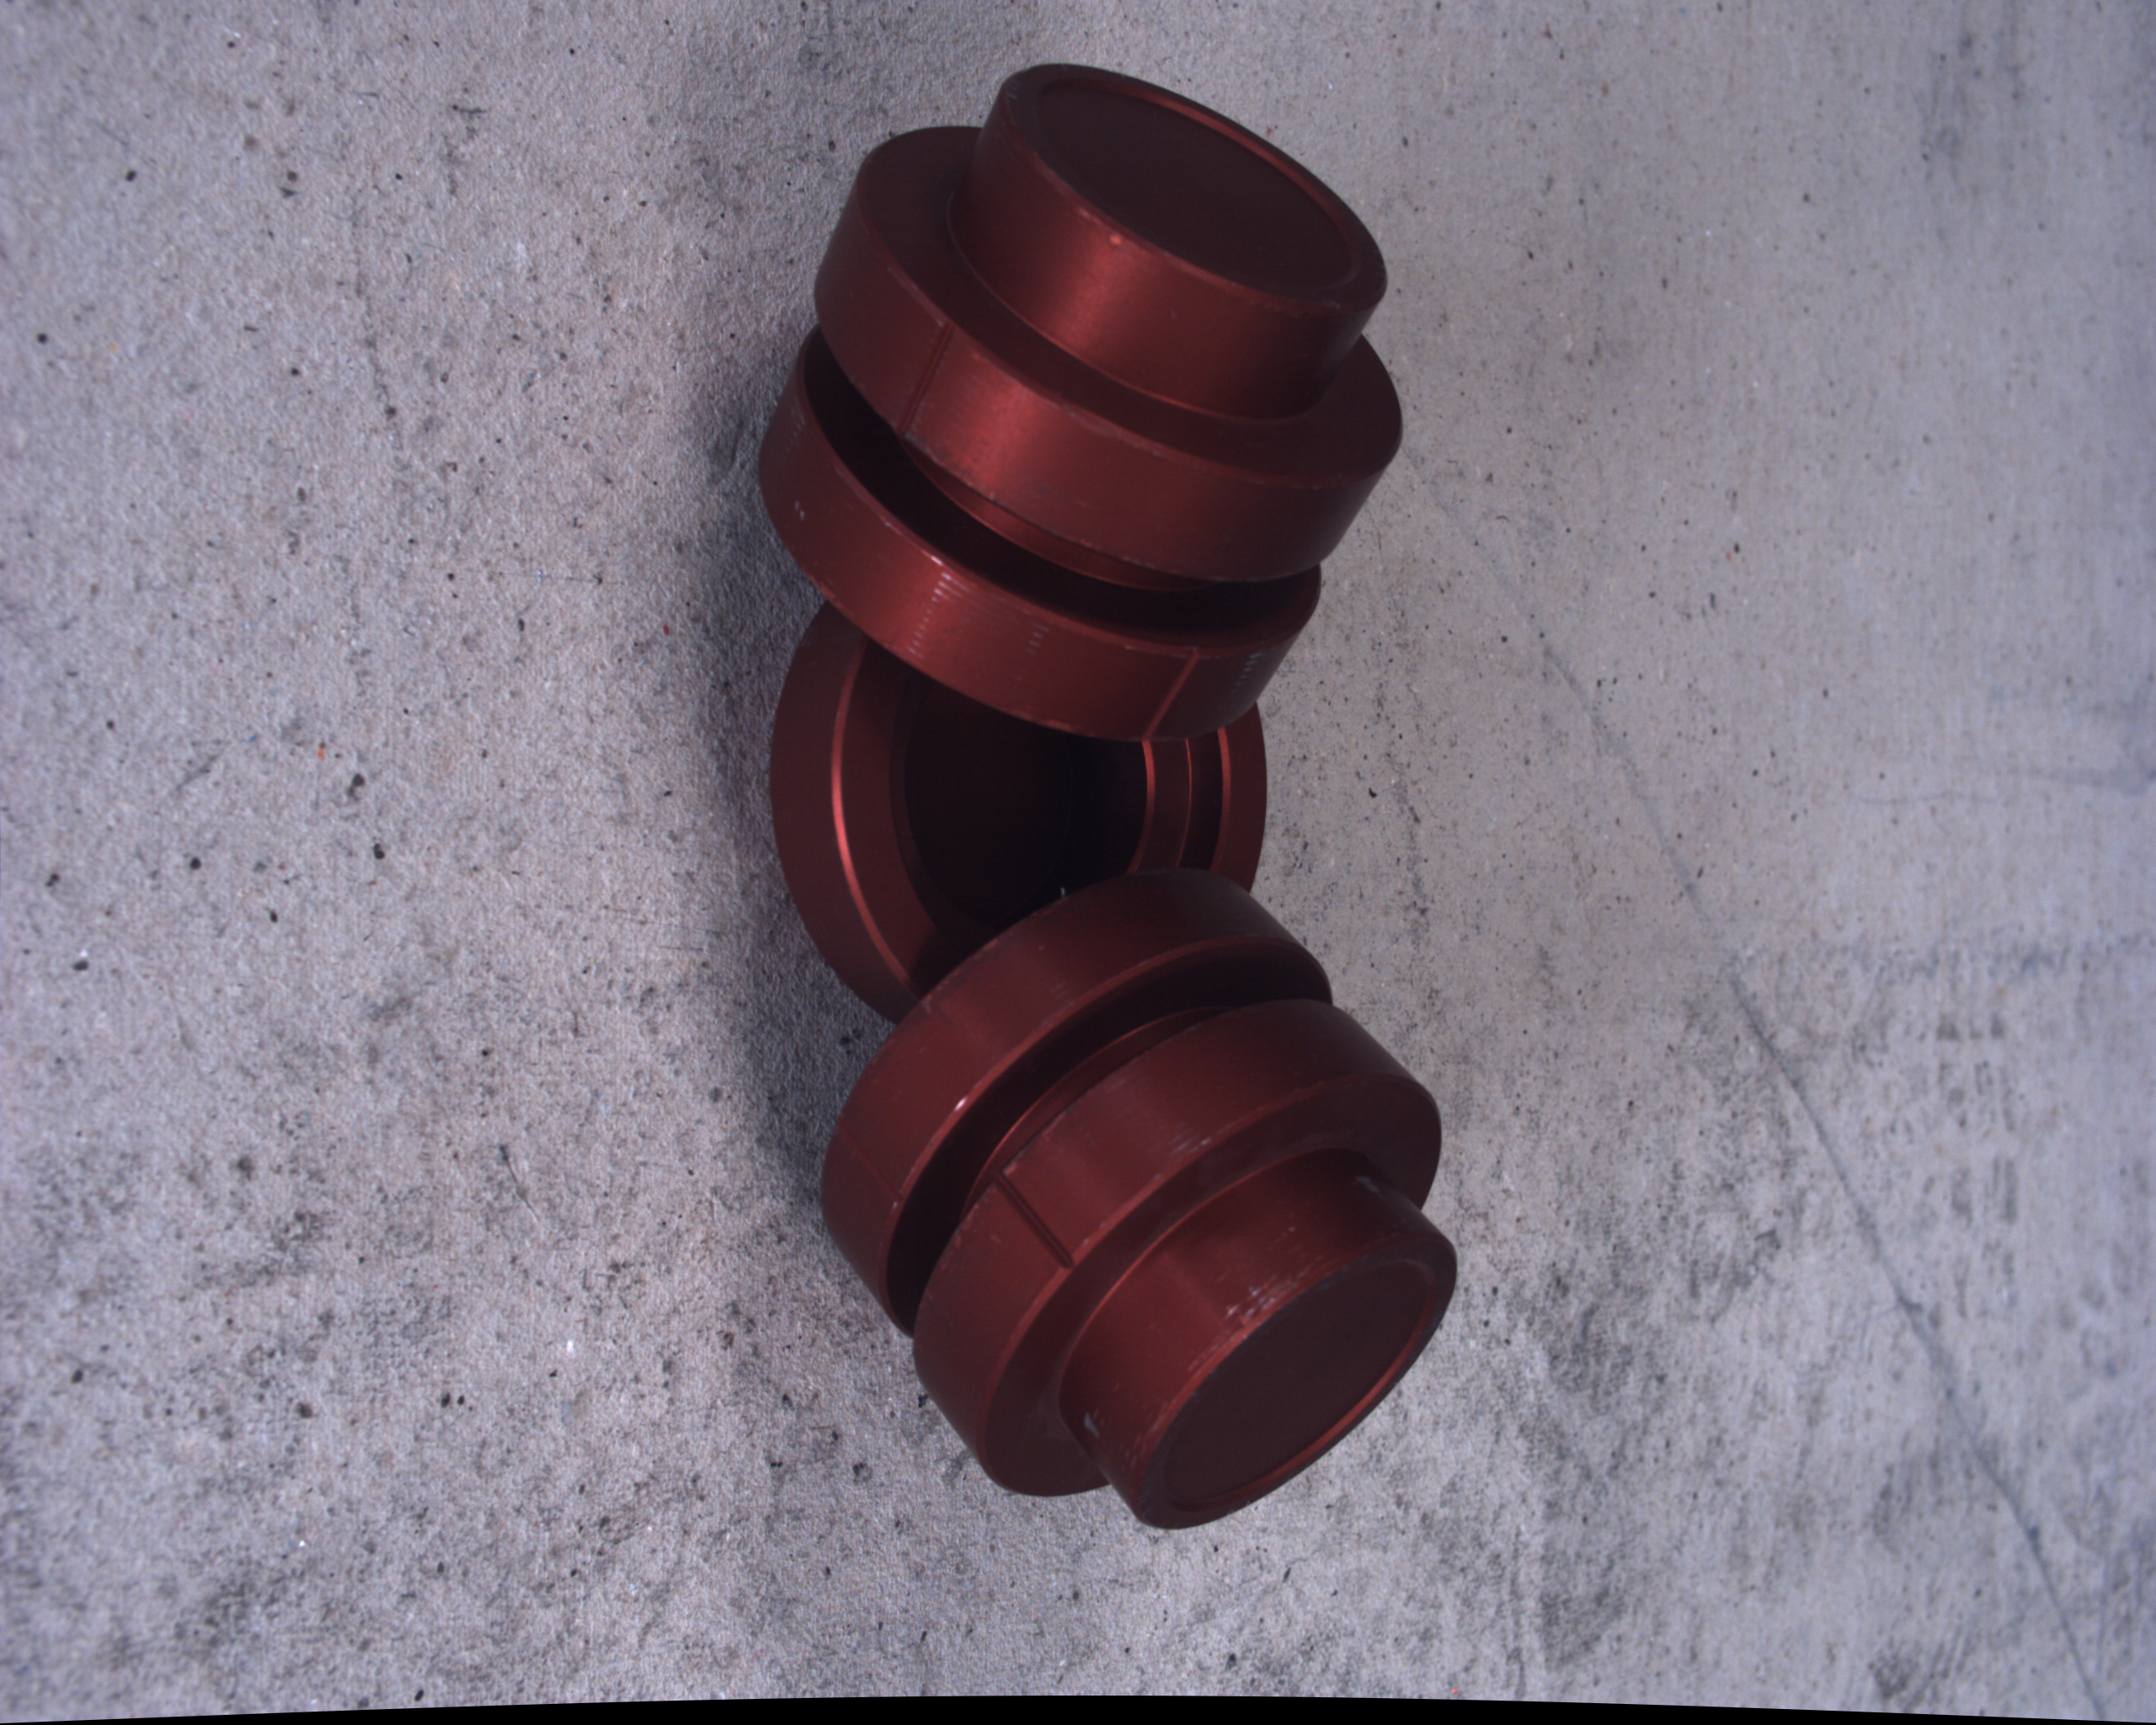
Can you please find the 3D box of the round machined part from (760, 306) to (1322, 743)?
[{"bbox_3d":[-0.001,-0.069,0.358,0.099,0.042,0.098,19,39,-16],"label":"round machined part"}]

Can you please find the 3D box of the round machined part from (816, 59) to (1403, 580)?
[{"bbox_3d":[0.011,-0.094,0.341,0.099,0.042,0.098,19,39,-16],"label":"round machined part"}]

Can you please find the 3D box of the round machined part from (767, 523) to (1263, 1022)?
[{"bbox_3d":[-0.015,-0.015,0.383,0.099,0.042,0.097,0,90,-40],"label":"round machined part"}]

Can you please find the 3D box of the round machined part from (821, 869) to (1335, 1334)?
[{"bbox_3d":[0.008,0.052,0.369,0.099,0.042,0.097,-27,142,-23],"label":"round machined part"}]

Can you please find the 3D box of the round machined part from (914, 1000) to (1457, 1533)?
[{"bbox_3d":[0.025,0.074,0.353,0.099,0.042,0.097,-27,142,-24],"label":"round machined part"}]
